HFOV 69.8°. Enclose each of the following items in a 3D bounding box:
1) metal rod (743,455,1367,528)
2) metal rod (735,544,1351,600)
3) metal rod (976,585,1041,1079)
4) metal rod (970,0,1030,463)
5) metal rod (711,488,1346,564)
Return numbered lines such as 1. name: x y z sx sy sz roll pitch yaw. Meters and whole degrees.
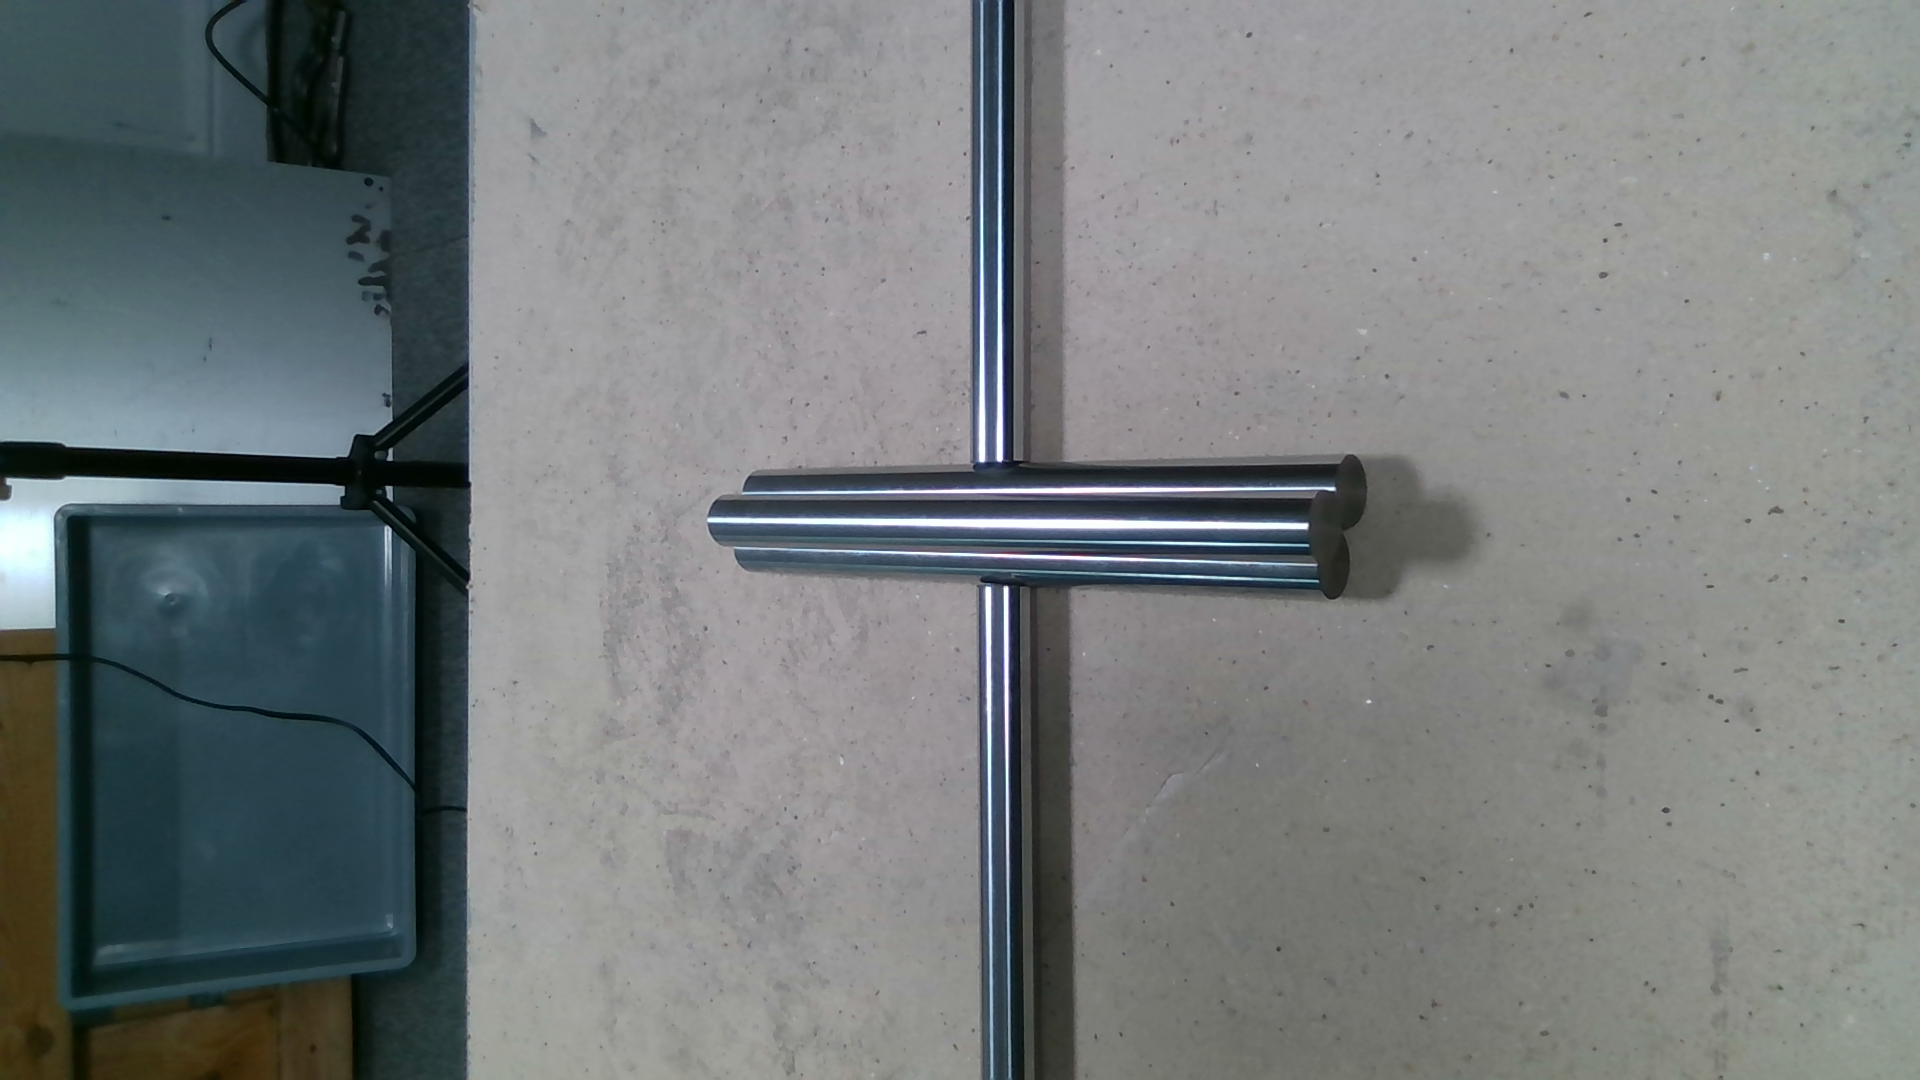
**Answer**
1. metal rod: 0.019 -0.019 0.567 0.300 0.025 0.025 1 91 40
2. metal rod: 0.015 0.006 0.571 0.300 0.025 0.025 1 91 40
3. metal rod: 0.020 0.168 0.567 0.025 0.025 0.300 0 90 40
4. metal rod: 0.016 -0.182 0.566 0.025 0.025 0.300 1 91 40
5. metal rod: 0.007 -0.007 0.550 0.300 0.025 0.025 1 91 40
